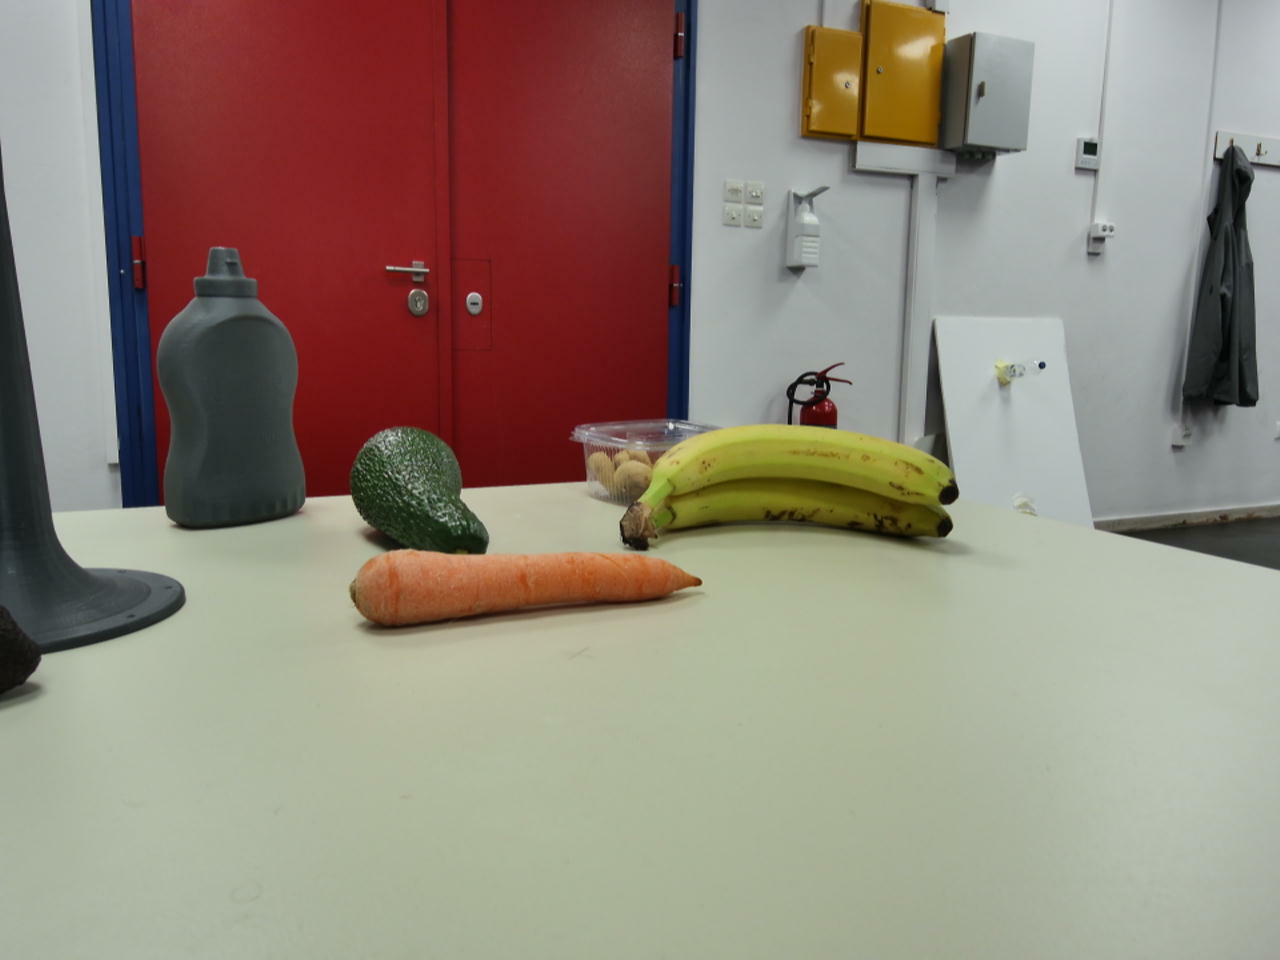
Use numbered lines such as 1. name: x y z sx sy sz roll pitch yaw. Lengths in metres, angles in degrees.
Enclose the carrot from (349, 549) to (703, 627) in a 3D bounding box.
1. carrot: -0.055 0.052 0.540 0.196 0.041 0.039 -4 8 -24
